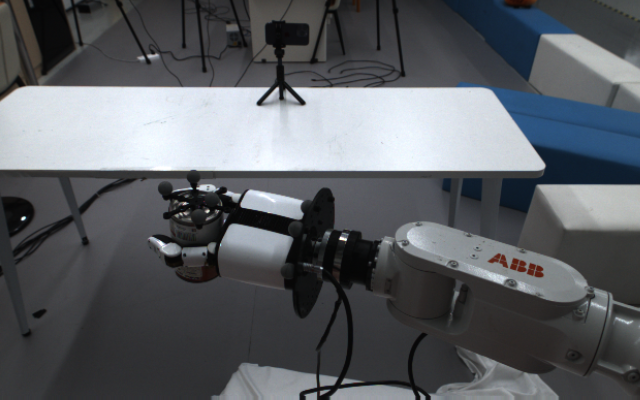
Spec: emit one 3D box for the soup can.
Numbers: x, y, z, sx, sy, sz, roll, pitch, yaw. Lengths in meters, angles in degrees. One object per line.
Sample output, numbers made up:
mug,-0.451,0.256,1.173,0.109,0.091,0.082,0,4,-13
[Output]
soup can,-0.155,0.049,0.620,0.067,0.101,0.067,5,37,-4
